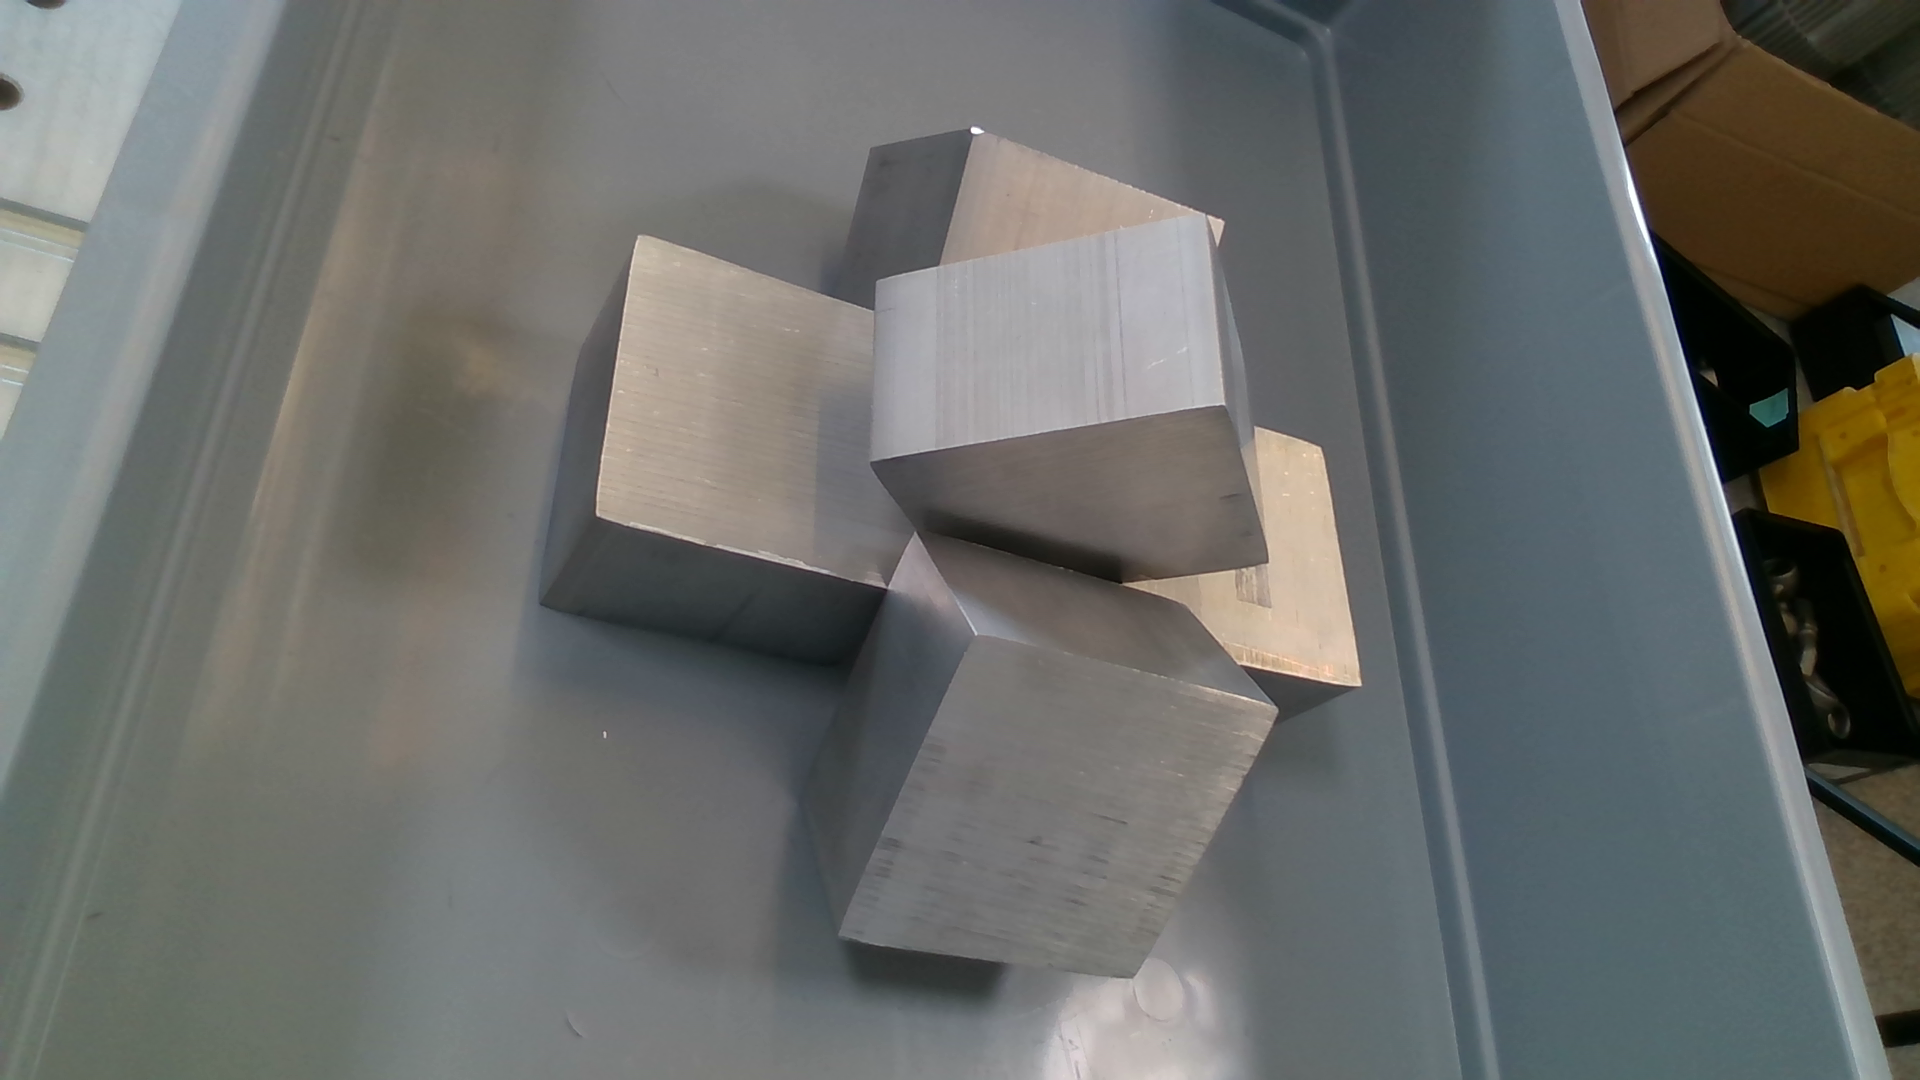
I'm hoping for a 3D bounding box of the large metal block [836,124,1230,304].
[{"bbox_3d":[0.017,-0.079,0.400,0.080,0.080,0.050,13,95,-25],"label":"large metal block"}]

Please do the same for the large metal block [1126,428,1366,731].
[{"bbox_3d":[0.067,0.008,0.409,0.080,0.050,0.080,13,59,-26],"label":"large metal block"}]

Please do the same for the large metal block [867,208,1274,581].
[{"bbox_3d":[0.030,-0.028,0.339,0.080,0.080,0.050,55,31,-58],"label":"large metal block"}]

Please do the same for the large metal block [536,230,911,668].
[{"bbox_3d":[-0.056,-0.021,0.353,0.080,0.050,0.080,15,58,-25],"label":"large metal block"}]

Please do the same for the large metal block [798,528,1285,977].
[{"bbox_3d":[0.016,0.052,0.330,0.080,0.080,0.050,15,20,-24],"label":"large metal block"}]
